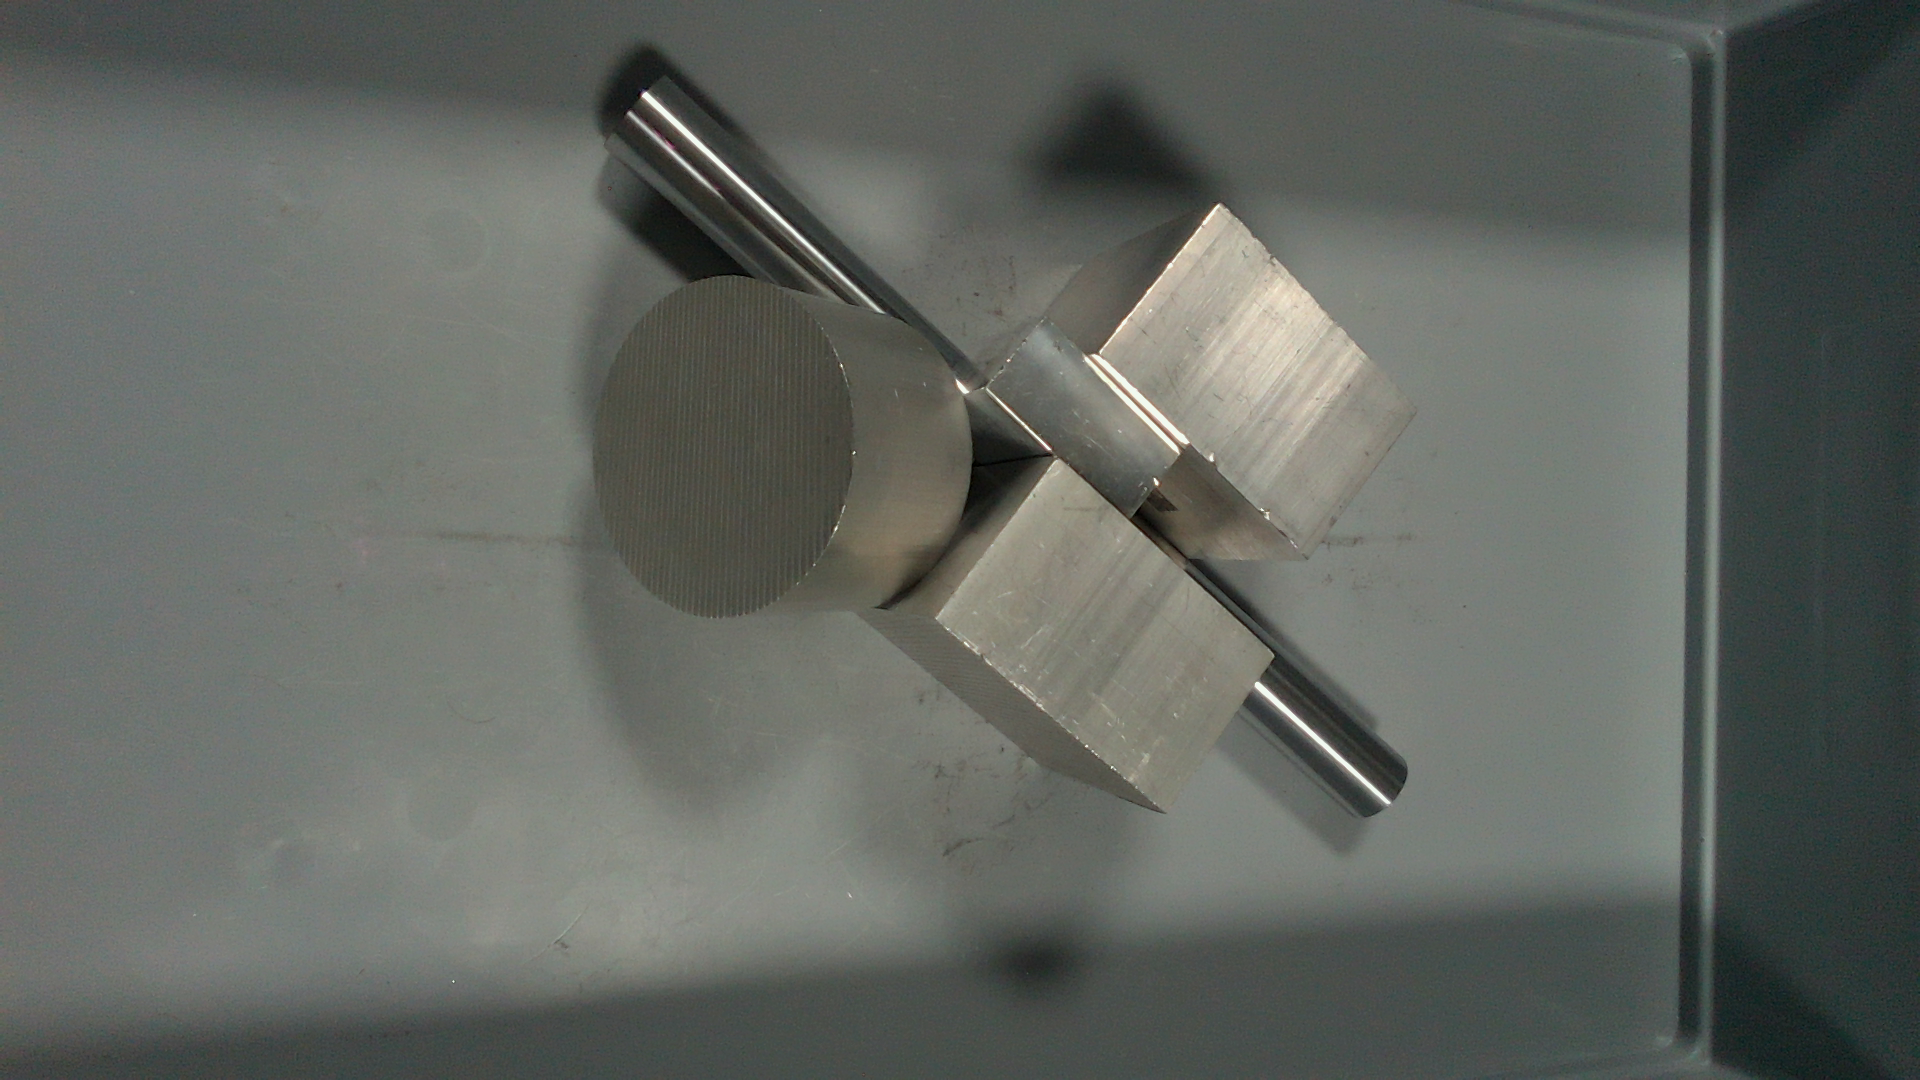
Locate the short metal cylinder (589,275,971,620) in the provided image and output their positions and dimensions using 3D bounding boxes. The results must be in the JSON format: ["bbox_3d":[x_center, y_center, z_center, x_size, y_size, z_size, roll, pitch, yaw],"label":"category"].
[{"bbox_3d":[-0.044,-0.021,0.341,0.050,0.080,0.080,1,90,-59],"label":"short metal cylinder"}]

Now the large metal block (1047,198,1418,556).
[{"bbox_3d":[0.065,-0.041,0.388,0.080,0.080,0.050,42,77,-15],"label":"large metal block"}]

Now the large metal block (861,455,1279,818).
[{"bbox_3d":[0.024,0.024,0.373,0.080,0.080,0.050,41,77,-15],"label":"large metal block"}]

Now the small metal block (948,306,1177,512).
[{"bbox_3d":[0.021,-0.031,0.362,0.050,0.050,0.025,43,77,-15],"label":"small metal block"}]

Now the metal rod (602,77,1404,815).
[{"bbox_3d":[0.023,-0.017,0.402,0.300,0.025,0.025,41,77,-15],"label":"metal rod"}]
